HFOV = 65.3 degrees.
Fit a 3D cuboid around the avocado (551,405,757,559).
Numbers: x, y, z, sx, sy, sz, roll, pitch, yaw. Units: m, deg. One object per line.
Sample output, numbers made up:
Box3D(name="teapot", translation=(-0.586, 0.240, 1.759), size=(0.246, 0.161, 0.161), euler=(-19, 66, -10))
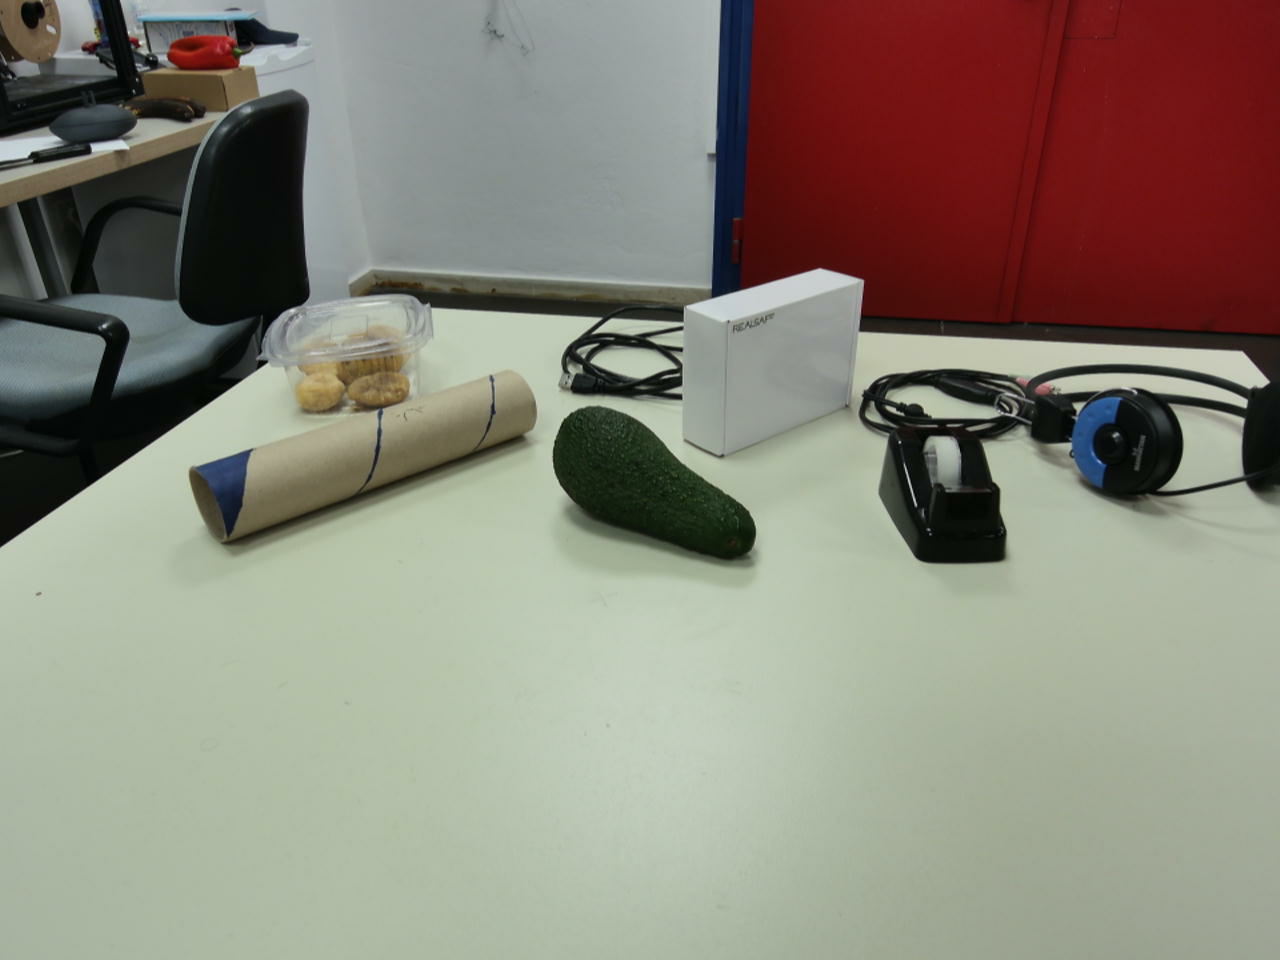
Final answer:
Box3D(name="avocado", translation=(0.010, -0.003, 0.583), size=(0.141, 0.067, 0.063), euler=(13, 29, 24))
